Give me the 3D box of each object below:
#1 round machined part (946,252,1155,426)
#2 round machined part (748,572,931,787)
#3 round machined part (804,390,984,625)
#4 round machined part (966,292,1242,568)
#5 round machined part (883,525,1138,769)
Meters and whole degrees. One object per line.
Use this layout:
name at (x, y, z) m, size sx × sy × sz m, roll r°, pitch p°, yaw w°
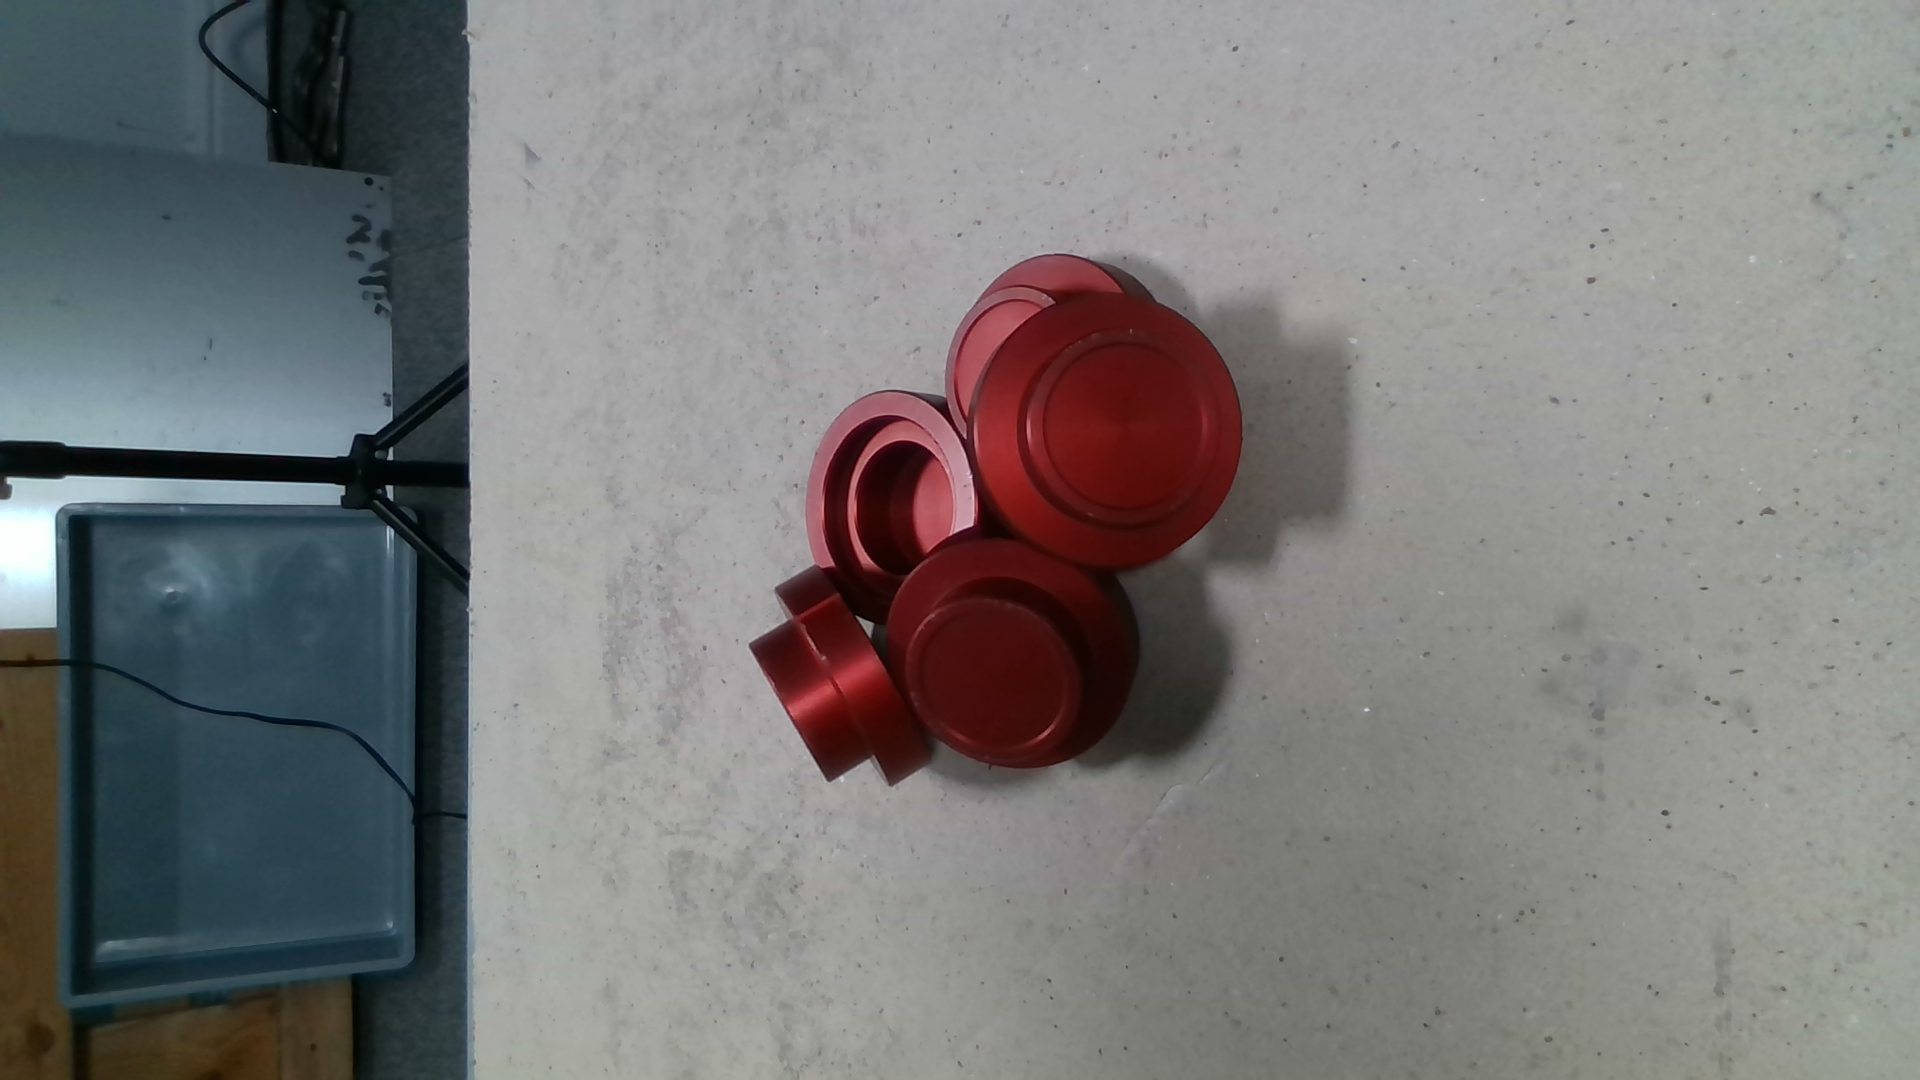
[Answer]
round machined part at (0.033, -0.065, 0.544) m, size 0.098 × 0.042 × 0.098 m, roll 0°, pitch 91°, yaw 40°
round machined part at (-0.055, 0.064, 0.582) m, size 0.042 × 0.098 × 0.098 m, roll -32°, pitch 64°, yaw -8°
round machined part at (-0.018, -0.013, 0.586) m, size 0.098 × 0.042 × 0.098 m, roll 0°, pitch 91°, yaw 40°
round machined part at (0.053, -0.039, 0.488) m, size 0.042 × 0.098 × 0.098 m, roll -173°, pitch 83°, yaw -82°
round machined part at (0.017, 0.046, 0.529) m, size 0.098 × 0.042 × 0.098 m, roll 6°, pitch 113°, yaw 14°
